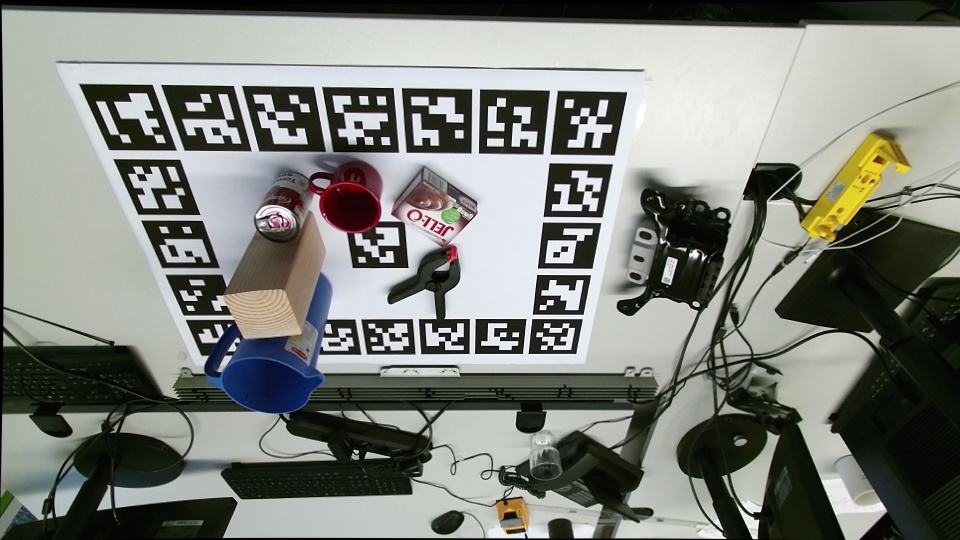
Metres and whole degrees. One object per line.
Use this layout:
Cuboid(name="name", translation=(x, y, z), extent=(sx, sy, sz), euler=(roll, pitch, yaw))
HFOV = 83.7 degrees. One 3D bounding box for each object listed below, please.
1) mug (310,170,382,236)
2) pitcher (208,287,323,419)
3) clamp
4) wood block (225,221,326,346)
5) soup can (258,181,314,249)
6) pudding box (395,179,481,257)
Cuboid(name="mug", translation=(-0.208, -0.110, 0.835), extent=(0.117, 0.081, 0.093), euler=(31, 122, -25))
Cuboid(name="pitcher", translation=(-0.349, 0.121, 0.904), extent=(0.189, 0.241, 0.133), euler=(-2, 129, -5))
Cuboid(name="clamp", translation=(-0.097, 0.040, 0.992), extent=(0.122, 0.036, 0.165), euler=(28, 121, -14))
Cuboid(name="wood block", translation=(-0.320, 0.015, 0.844), extent=(0.090, 0.205, 0.091), euler=(0, 127, 1))
Cuboid(name="soup can", translation=(-0.302, -0.088, 0.833), extent=(0.068, 0.101, 0.068), euler=(-2, 125, -2))
Cuboid(name="pudding box", translation=(-0.069, -0.085, 0.892), extent=(0.114, 0.038, 0.090), euler=(32, 116, -25))
